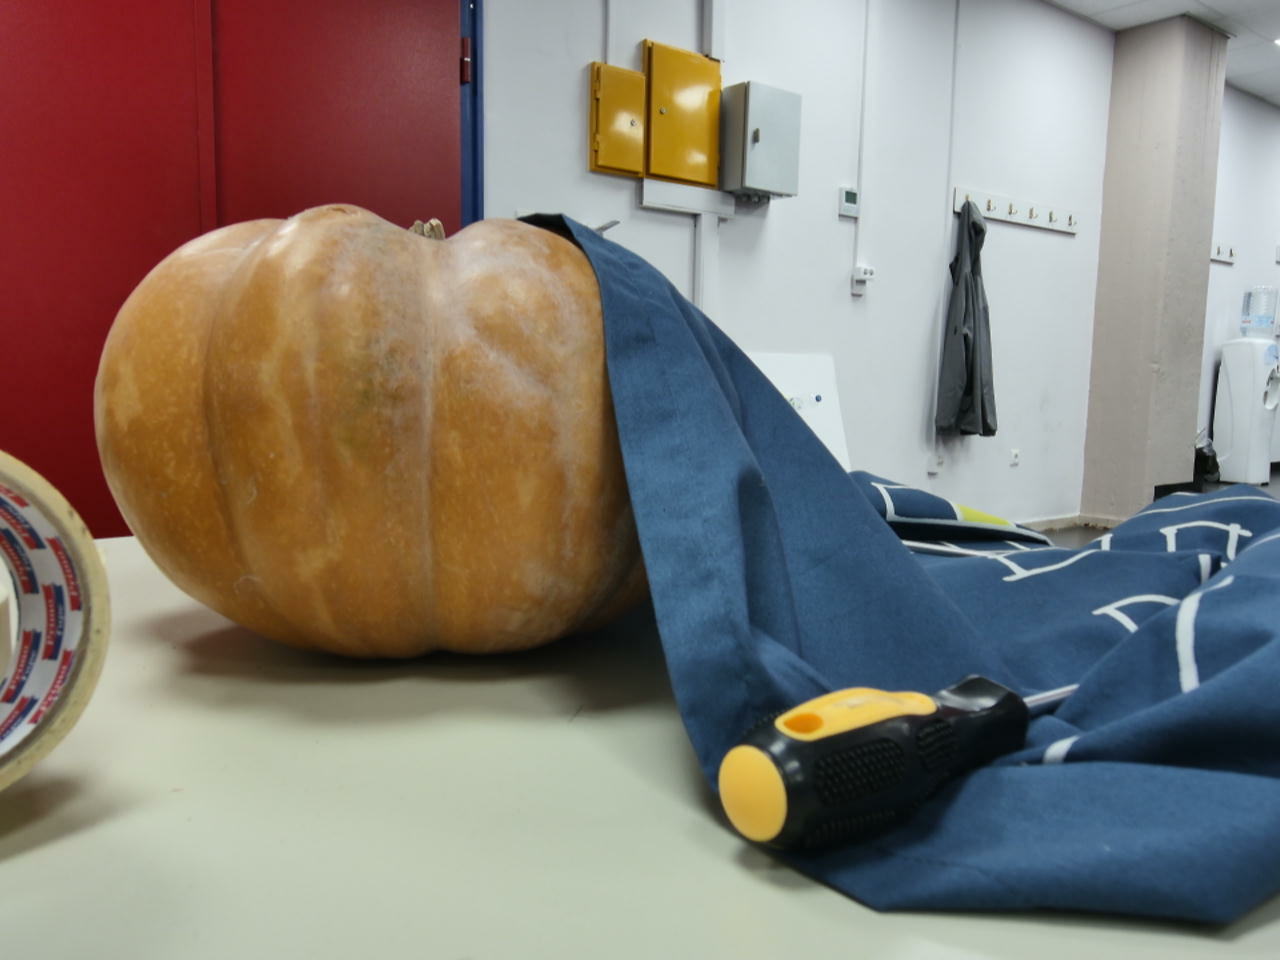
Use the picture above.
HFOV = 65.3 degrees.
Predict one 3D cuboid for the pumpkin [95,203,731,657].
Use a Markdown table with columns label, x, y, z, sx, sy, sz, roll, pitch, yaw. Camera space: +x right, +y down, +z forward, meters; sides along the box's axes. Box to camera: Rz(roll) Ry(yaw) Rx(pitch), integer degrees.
| label | x | y | z | sx | sy | sz | roll | pitch | yaw |
| --- | --- | --- | --- | --- | --- | --- | --- | --- | --- |
| pumpkin | -0.095 | -0.022 | 0.438 | 0.277 | 0.181 | 0.277 | 0 | 4 | 0 |
